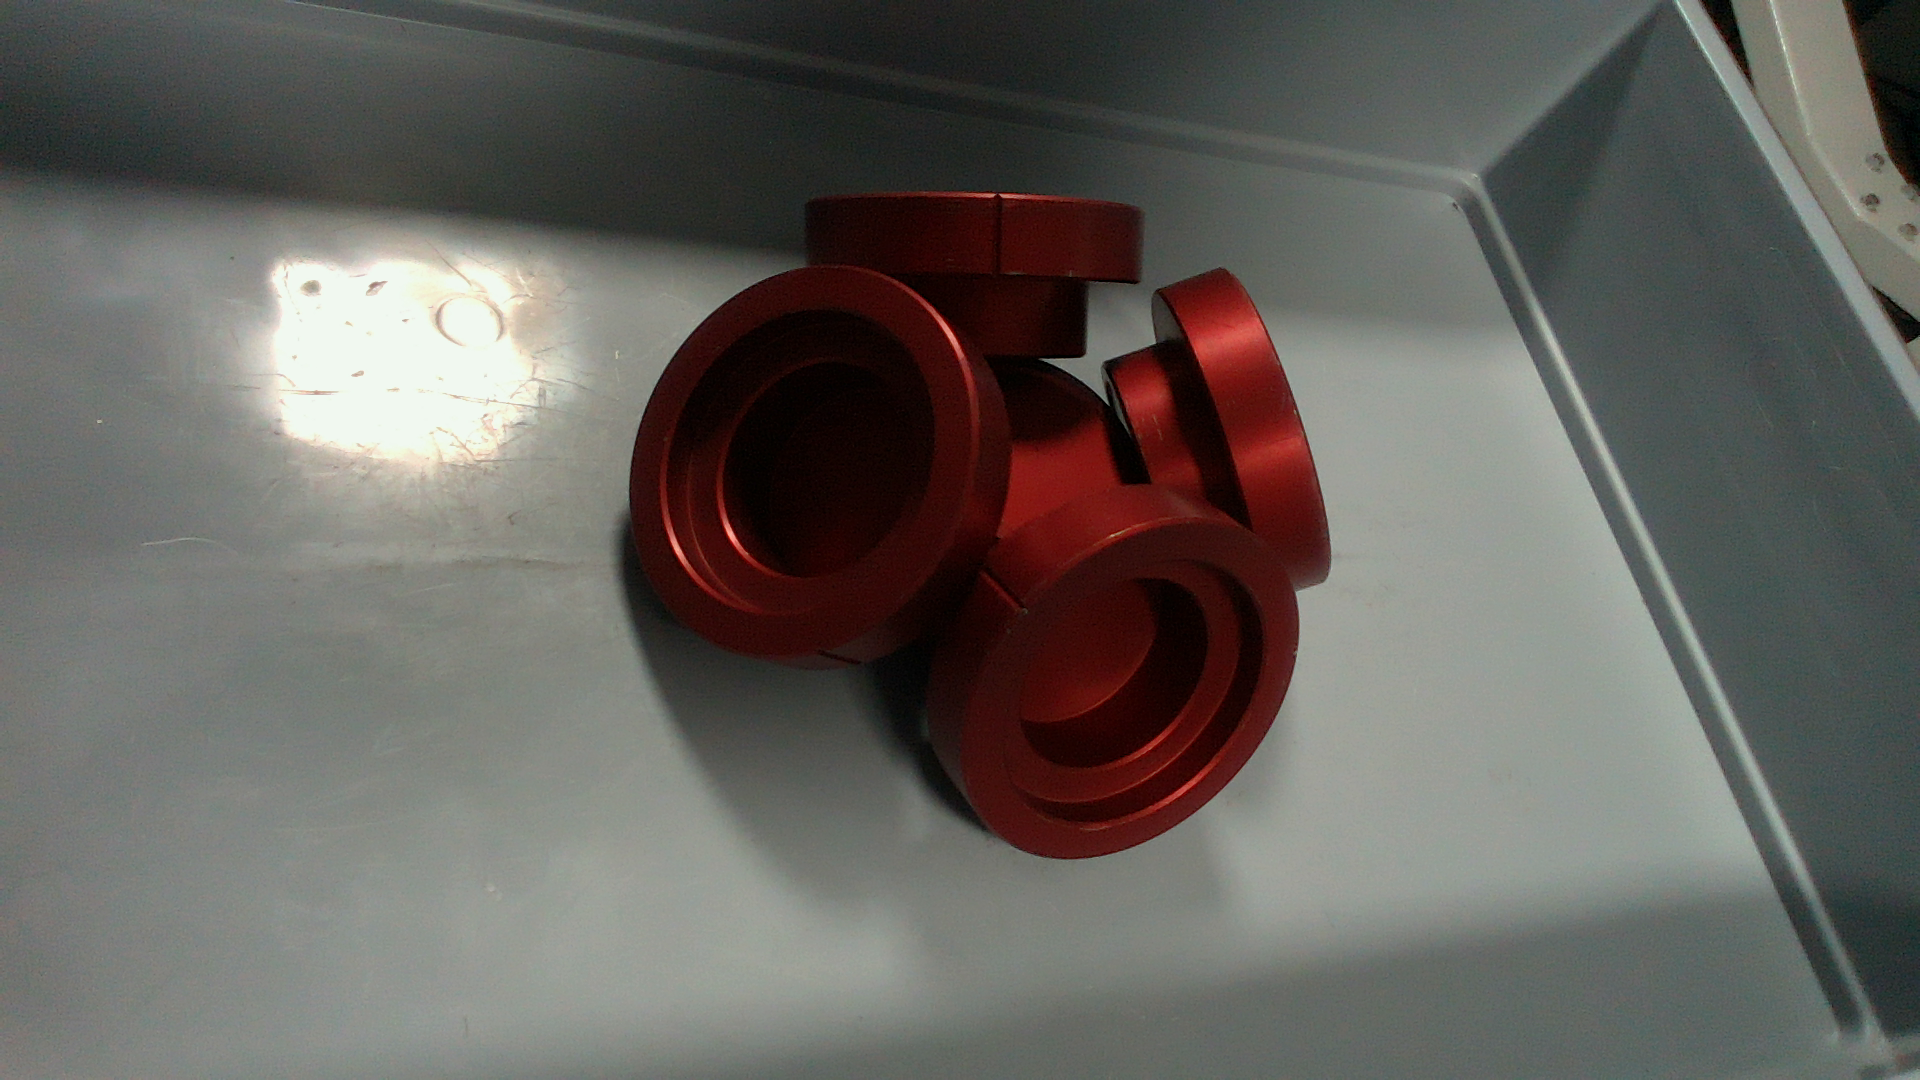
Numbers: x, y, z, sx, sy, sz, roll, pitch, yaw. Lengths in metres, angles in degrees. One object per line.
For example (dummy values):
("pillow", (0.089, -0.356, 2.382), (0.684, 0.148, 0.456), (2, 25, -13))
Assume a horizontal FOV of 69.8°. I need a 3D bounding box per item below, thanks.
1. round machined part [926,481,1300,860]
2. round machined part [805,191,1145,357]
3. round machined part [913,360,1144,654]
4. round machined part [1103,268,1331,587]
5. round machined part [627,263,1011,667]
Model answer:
("round machined part", (0.035, 0.030, 0.354), (0.098, 0.098, 0.042), (-1, 26, -29))
("round machined part", (0.004, -0.076, 0.402), (0.098, 0.098, 0.042), (-4, 101, -30))
("round machined part", (0.013, -0.014, 0.392), (0.098, 0.042, 0.098), (14, 56, -21))
("round machined part", (0.072, -0.028, 0.410), (0.042, 0.098, 0.098), (-18, 67, 3))
("round machined part", (-0.032, -0.016, 0.346), (0.042, 0.098, 0.098), (26, 40, -62))
